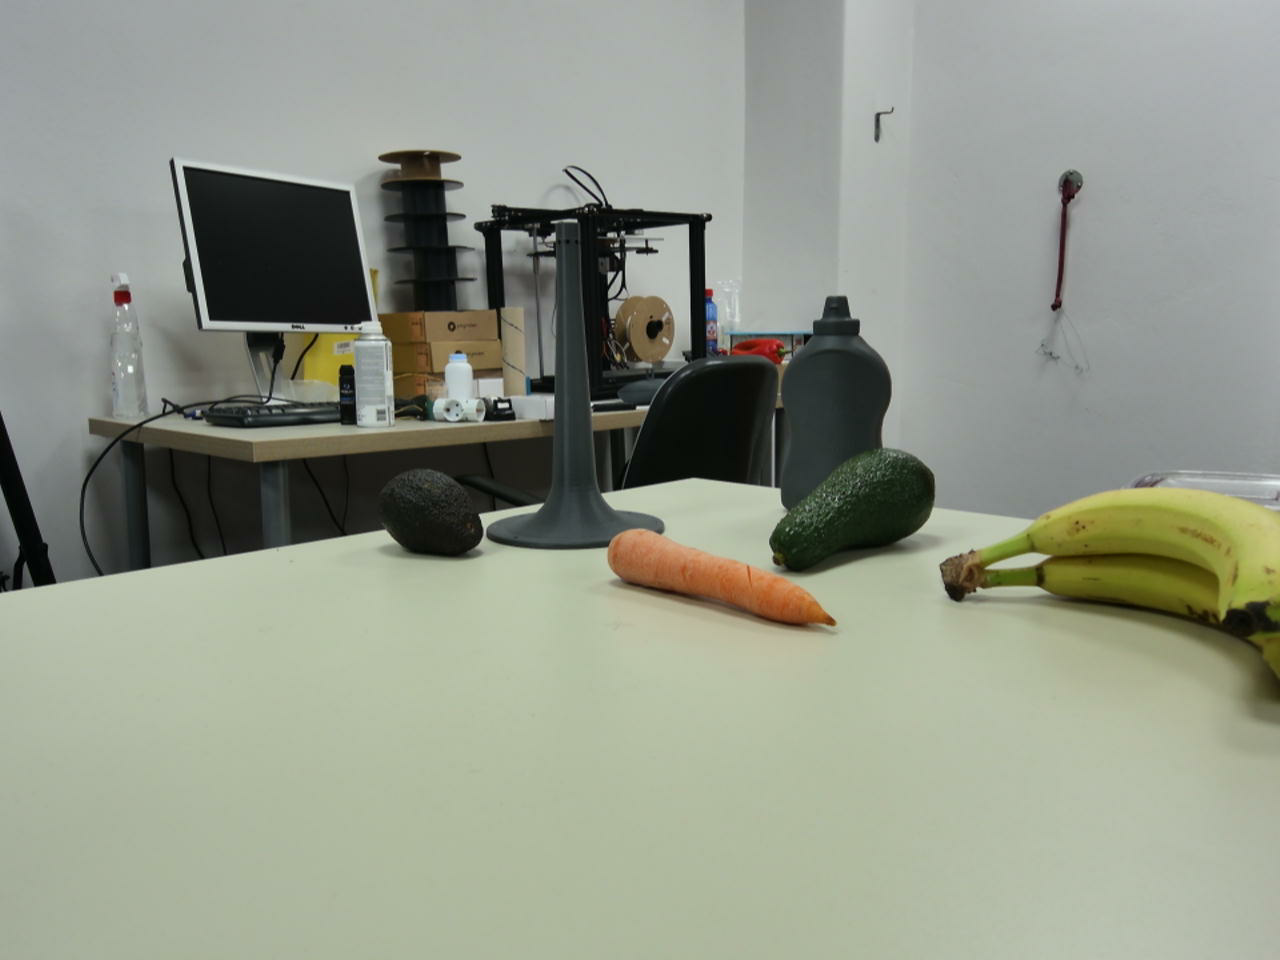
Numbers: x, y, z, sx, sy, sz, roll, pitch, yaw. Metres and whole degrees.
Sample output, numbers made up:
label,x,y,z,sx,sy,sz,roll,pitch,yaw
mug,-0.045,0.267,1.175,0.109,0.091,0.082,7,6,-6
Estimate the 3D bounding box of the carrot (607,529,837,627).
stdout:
label,x,y,z,sx,sy,sz,roll,pitch,yaw
carrot,0.050,0.063,0.659,0.039,0.041,0.196,-6,9,-43
